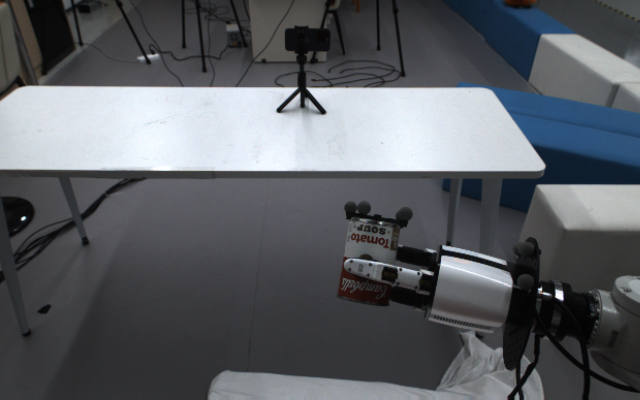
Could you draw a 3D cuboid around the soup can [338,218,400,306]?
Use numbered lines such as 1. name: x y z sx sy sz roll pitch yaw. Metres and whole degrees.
1. soup can: 0.064 0.077 0.618 0.067 0.101 0.067 9 -5 1
